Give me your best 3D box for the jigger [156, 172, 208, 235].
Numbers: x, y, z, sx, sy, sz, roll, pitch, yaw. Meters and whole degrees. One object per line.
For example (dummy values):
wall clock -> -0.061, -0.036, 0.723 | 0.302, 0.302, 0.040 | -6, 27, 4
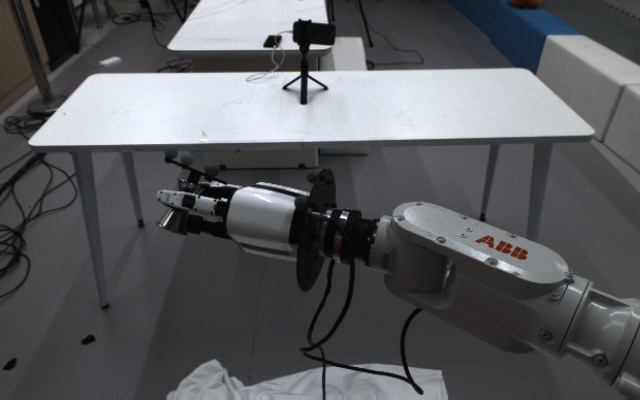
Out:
jigger -> -0.188, 0.007, 0.650 | 0.043, 0.071, 0.043 | 24, -2, 1
